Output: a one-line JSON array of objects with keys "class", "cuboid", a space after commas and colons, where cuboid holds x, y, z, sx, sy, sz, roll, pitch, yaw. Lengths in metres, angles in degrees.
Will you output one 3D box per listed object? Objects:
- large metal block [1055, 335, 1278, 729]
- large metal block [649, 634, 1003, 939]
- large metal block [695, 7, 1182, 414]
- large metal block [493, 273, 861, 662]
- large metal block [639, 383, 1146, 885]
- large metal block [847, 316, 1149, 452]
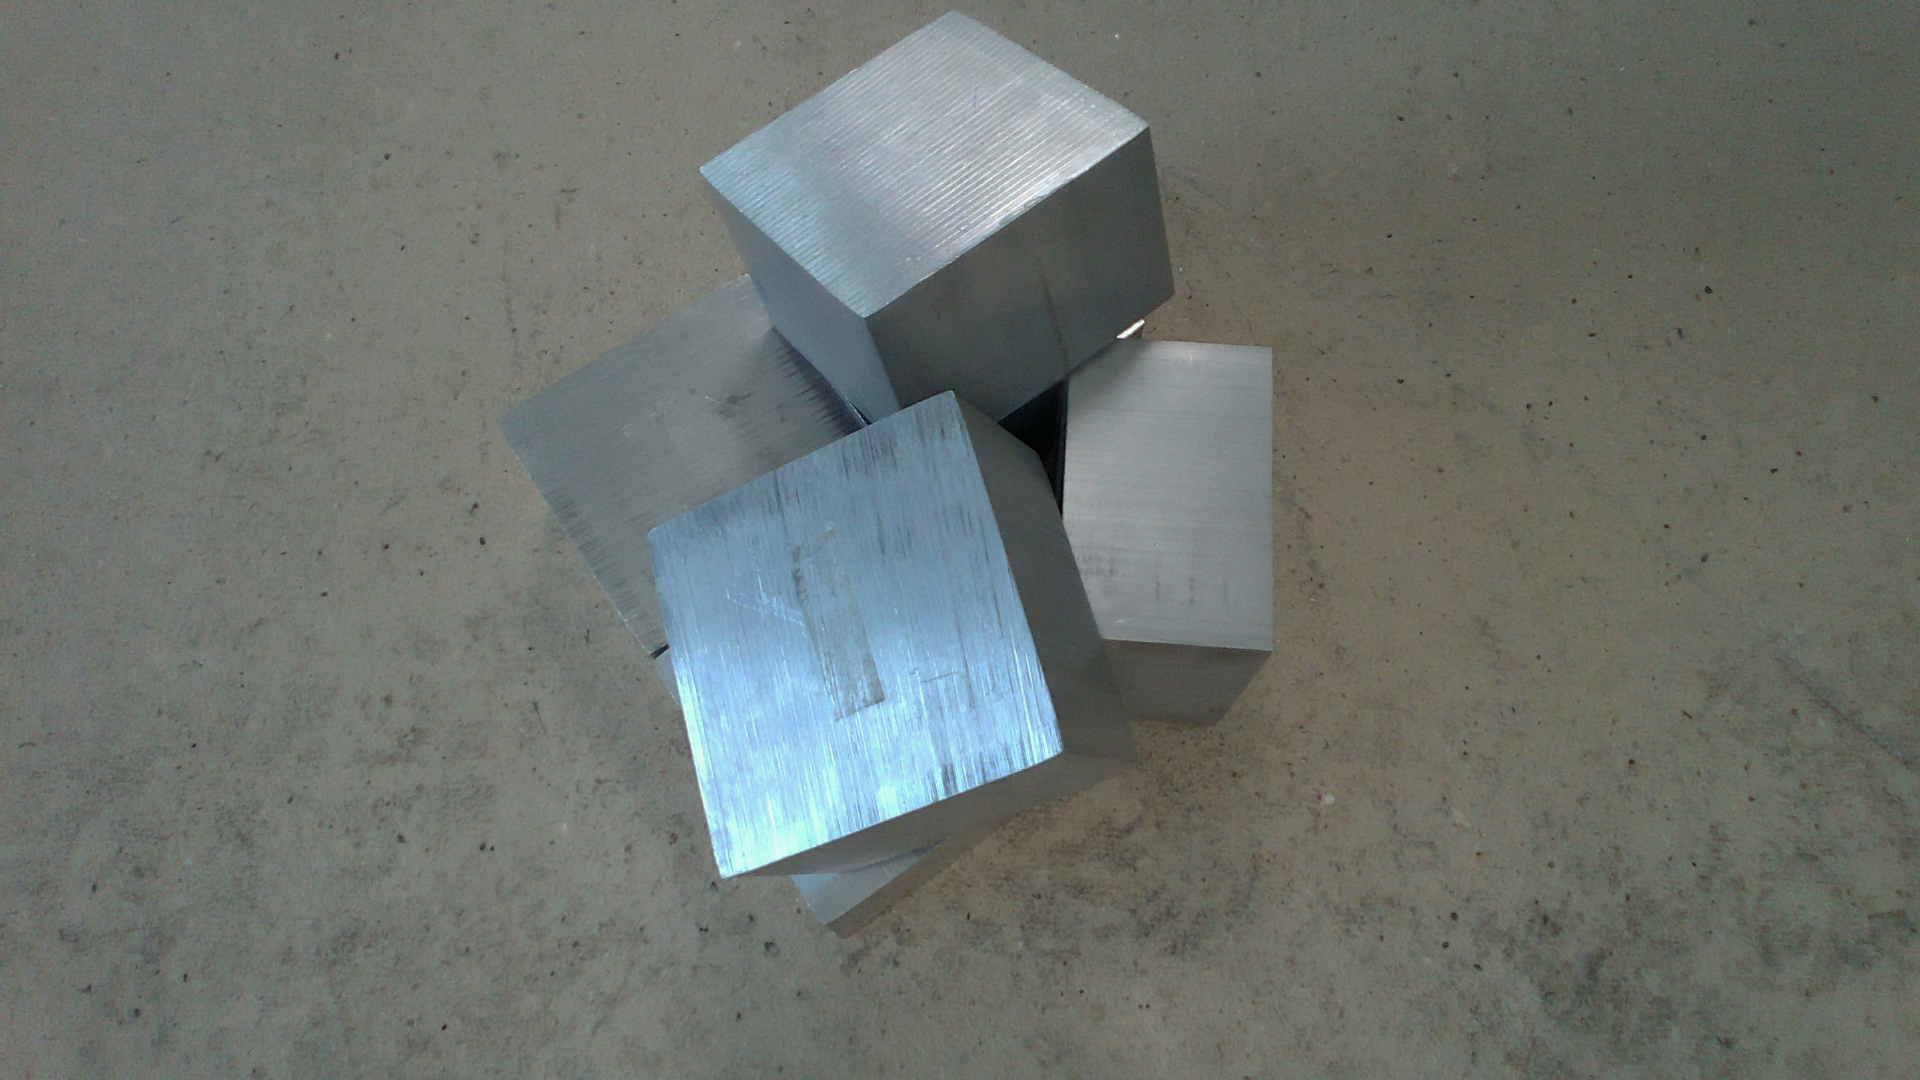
[{"class": "large metal block", "cuboid": [0.050, 0.001, 0.366, 0.050, 0.080, 0.080, 3, 70, 2]}, {"class": "large metal block", "cuboid": [-0.022, 0.047, 0.366, 0.080, 0.050, 0.080, -34, 73, -12]}, {"class": "large metal block", "cuboid": [-0.005, -0.077, 0.339, 0.080, 0.050, 0.080, -36, 51, -12]}, {"class": "large metal block", "cuboid": [-0.069, -0.014, 0.387, 0.080, 0.050, 0.080, -34, 74, -12]}, {"class": "large metal block", "cuboid": [-0.015, 0.024, 0.304, 0.080, 0.050, 0.080, -23, 70, 18]}, {"class": "large metal block", "cuboid": [-0.004, -0.060, 0.402, 0.080, 0.050, 0.080, -34, 73, -13]}]
